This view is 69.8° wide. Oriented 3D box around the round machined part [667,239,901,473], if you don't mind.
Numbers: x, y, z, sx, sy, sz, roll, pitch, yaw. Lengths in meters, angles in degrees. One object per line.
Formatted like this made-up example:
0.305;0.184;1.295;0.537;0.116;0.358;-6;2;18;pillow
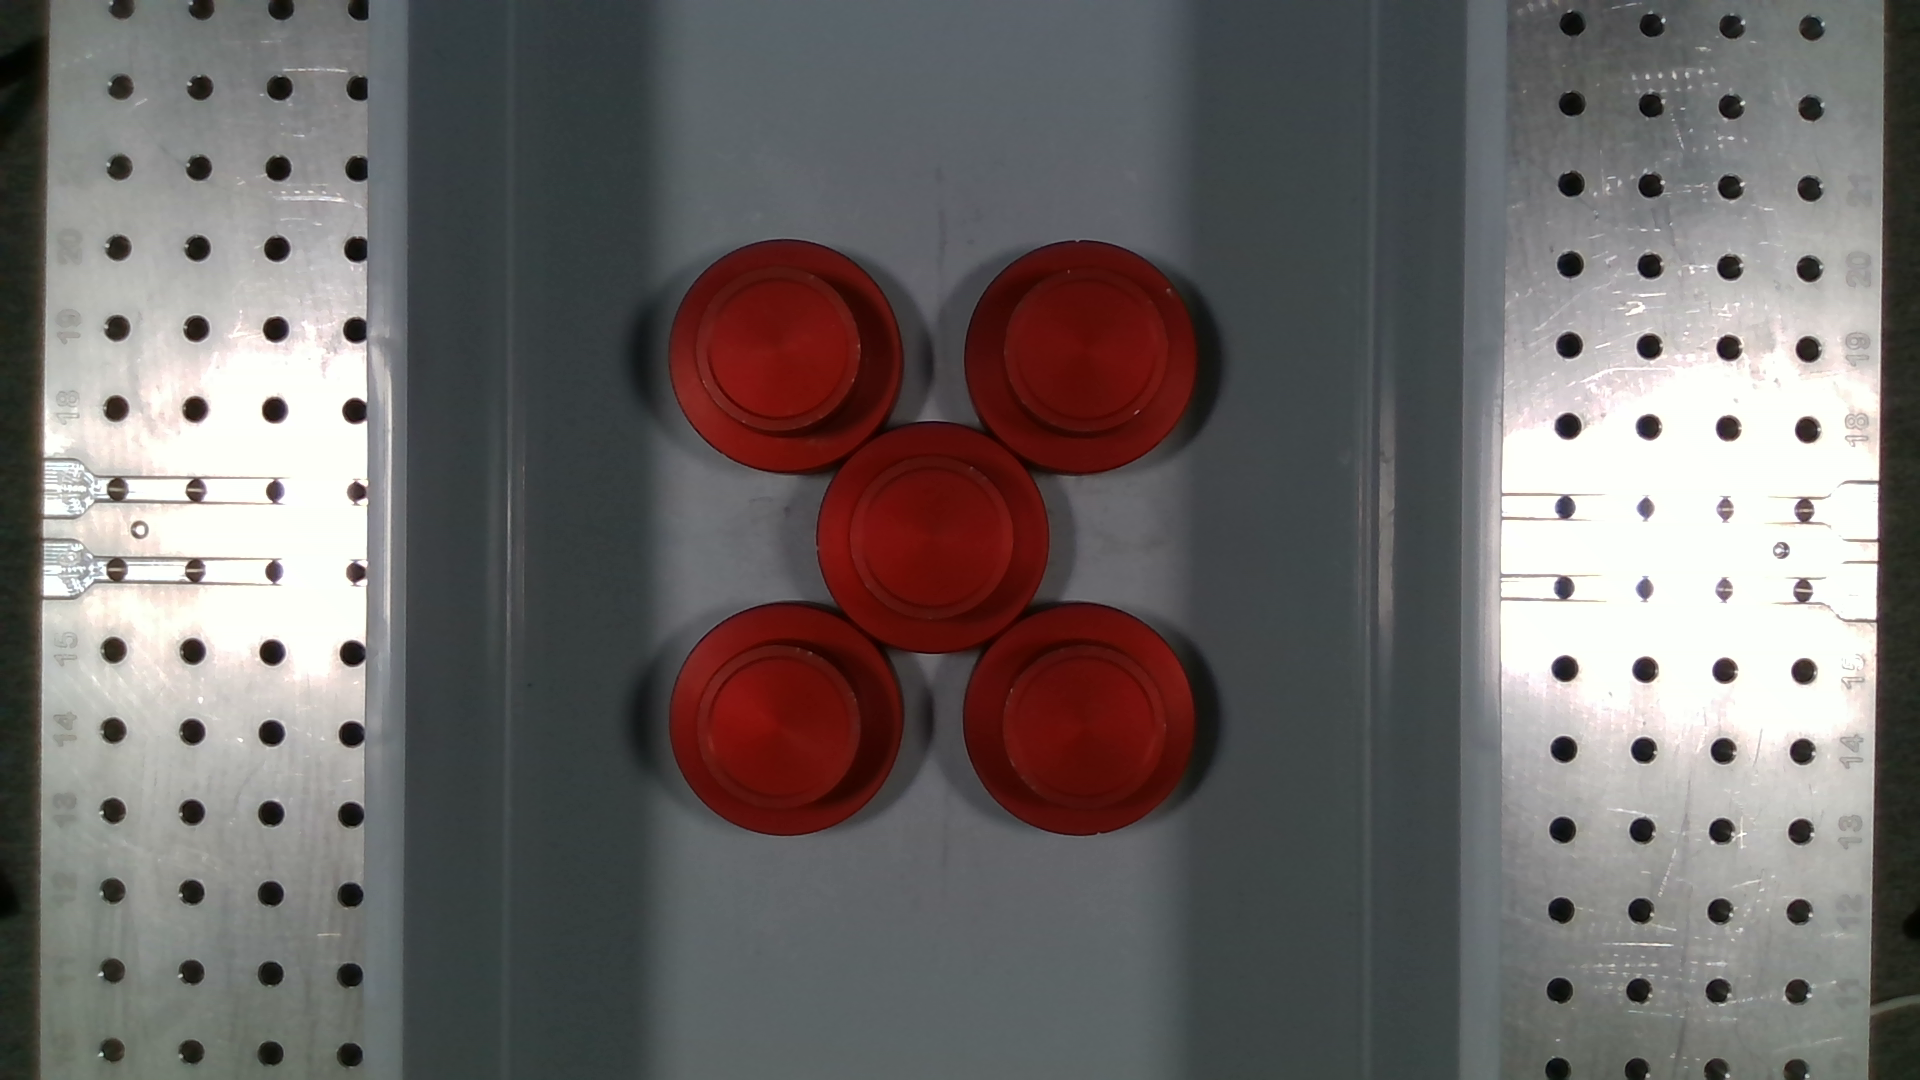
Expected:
-0.074;-0.077;0.577;0.098;0.042;0.098;0;90;0;round machined part

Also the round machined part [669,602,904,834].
-0.073;0.075;0.578;0.098;0.042;0.098;0;90;0;round machined part

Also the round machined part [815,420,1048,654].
-0.012;-0.001;0.577;0.098;0.042;0.098;0;90;0;round machined part

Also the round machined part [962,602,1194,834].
0.050;0.075;0.578;0.098;0.042;0.098;0;90;0;round machined part

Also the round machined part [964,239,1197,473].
0.050;-0.078;0.577;0.098;0.042;0.098;0;90;0;round machined part
